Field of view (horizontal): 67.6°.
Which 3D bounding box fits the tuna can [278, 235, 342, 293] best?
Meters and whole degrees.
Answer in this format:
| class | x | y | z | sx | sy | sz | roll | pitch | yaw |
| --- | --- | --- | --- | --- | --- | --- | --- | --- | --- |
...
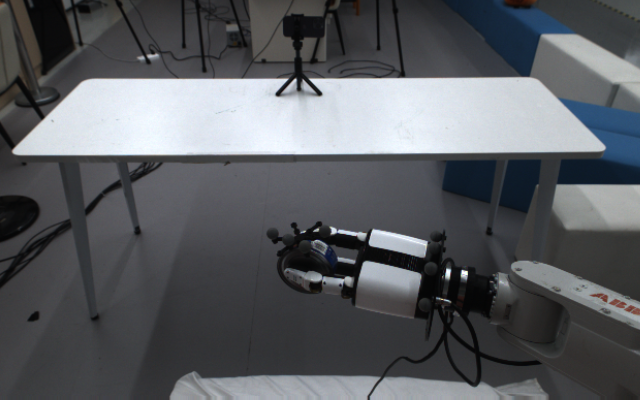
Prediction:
| class | x | y | z | sx | sy | sz | roll | pitch | yaw |
| --- | --- | --- | --- | --- | --- | --- | --- | --- | --- |
| tuna can | -0.015 | 0.100 | 0.709 | 0.085 | 0.085 | 0.034 | 10 | 33 | 11 |
